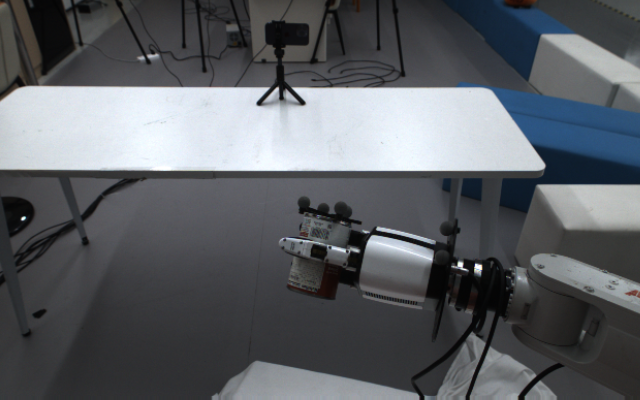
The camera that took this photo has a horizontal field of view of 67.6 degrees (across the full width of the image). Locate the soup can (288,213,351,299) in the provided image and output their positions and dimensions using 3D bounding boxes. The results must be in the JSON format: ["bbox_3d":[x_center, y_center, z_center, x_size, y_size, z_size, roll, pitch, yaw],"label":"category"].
[{"bbox_3d":[0.001,0.075,0.644,0.067,0.101,0.067,13,-6,1],"label":"soup can"}]
